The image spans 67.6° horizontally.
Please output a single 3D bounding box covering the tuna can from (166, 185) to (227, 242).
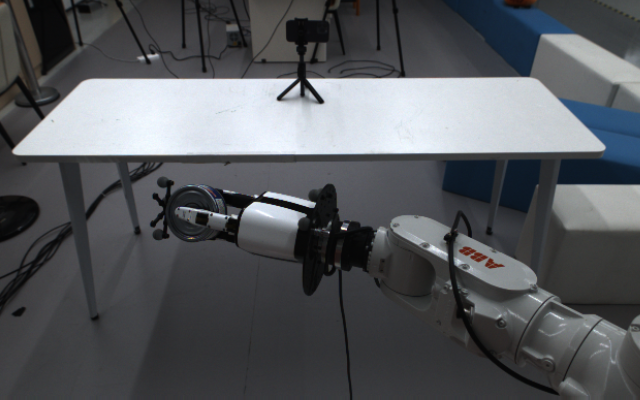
[{"bbox_3d":[-0.181,0.023,0.713,0.085,0.085,0.034,10,4,11],"label":"tuna can"}]
